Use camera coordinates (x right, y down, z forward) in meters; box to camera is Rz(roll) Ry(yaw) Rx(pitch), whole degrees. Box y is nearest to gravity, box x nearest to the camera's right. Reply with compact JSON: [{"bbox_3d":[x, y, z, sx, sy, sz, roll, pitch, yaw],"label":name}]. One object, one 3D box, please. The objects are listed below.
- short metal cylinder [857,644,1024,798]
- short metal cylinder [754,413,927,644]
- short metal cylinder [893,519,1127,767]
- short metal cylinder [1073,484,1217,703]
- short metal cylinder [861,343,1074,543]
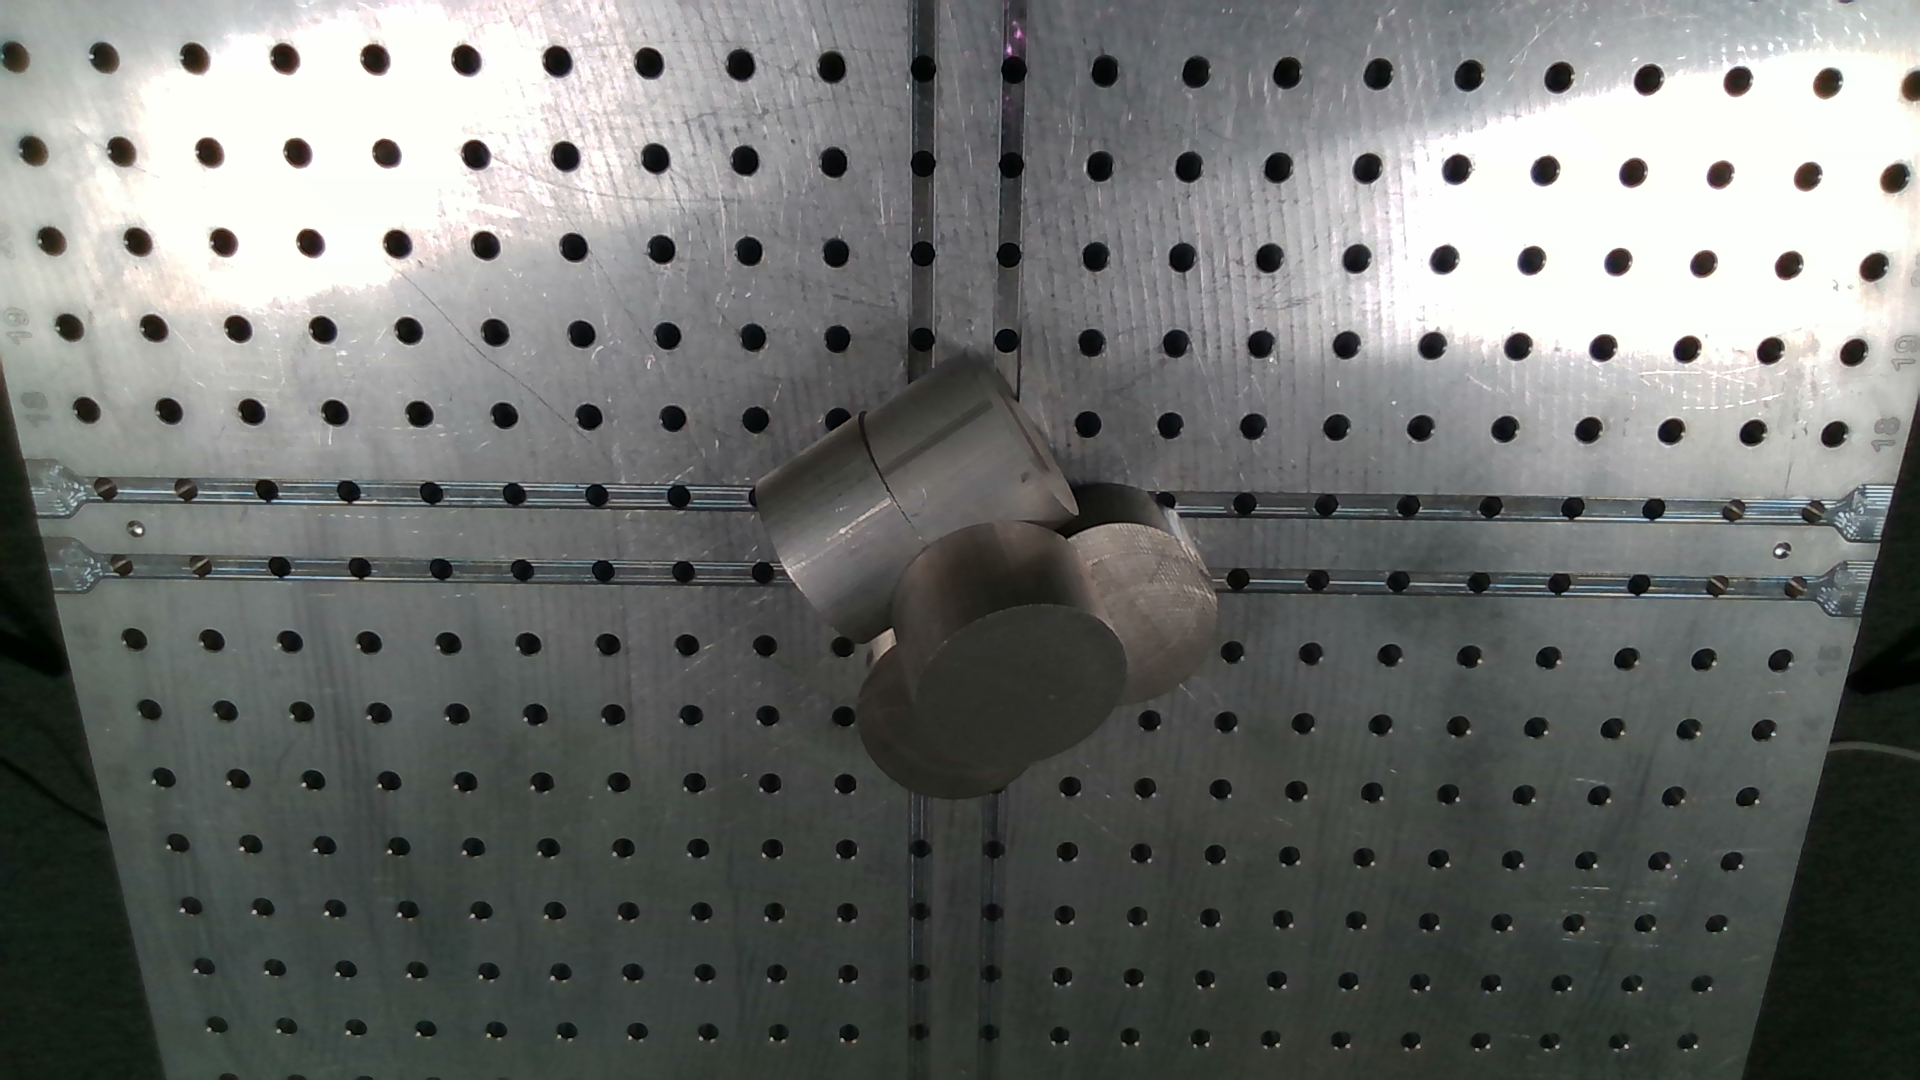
[{"bbox_3d":[-0.003,0.064,0.597,0.080,0.050,0.080,0,110,0],"label":"short metal cylinder"},{"bbox_3d":[-0.038,-0.005,0.556,0.050,0.080,0.080,-32,107,11],"label":"short metal cylinder"},{"bbox_3d":[0.017,0.039,0.520,0.080,0.050,0.080,-7,128,-9],"label":"short metal cylinder"},{"bbox_3d":[0.064,0.022,0.581,0.080,0.050,0.080,0,110,0],"label":"short metal cylinder"},{"bbox_3d":[0.004,-0.030,0.547,0.050,0.080,0.080,-33,107,11],"label":"short metal cylinder"}]
